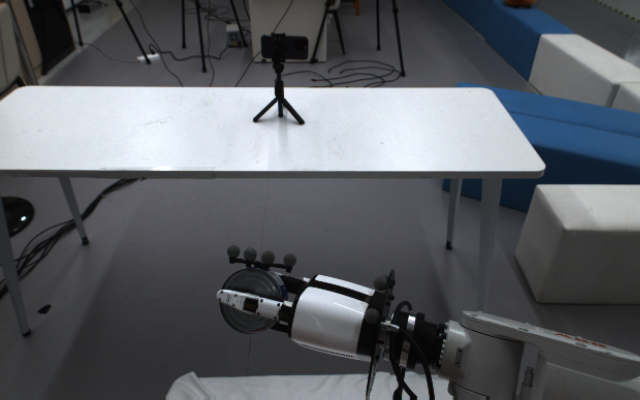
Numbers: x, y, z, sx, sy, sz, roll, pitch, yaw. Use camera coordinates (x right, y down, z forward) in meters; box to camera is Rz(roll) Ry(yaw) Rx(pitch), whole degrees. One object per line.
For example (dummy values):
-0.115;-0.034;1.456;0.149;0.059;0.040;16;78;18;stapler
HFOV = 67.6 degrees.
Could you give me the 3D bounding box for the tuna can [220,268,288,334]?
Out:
-0.085;0.131;0.638;0.085;0.085;0.034;11;-7;13;tuna can
